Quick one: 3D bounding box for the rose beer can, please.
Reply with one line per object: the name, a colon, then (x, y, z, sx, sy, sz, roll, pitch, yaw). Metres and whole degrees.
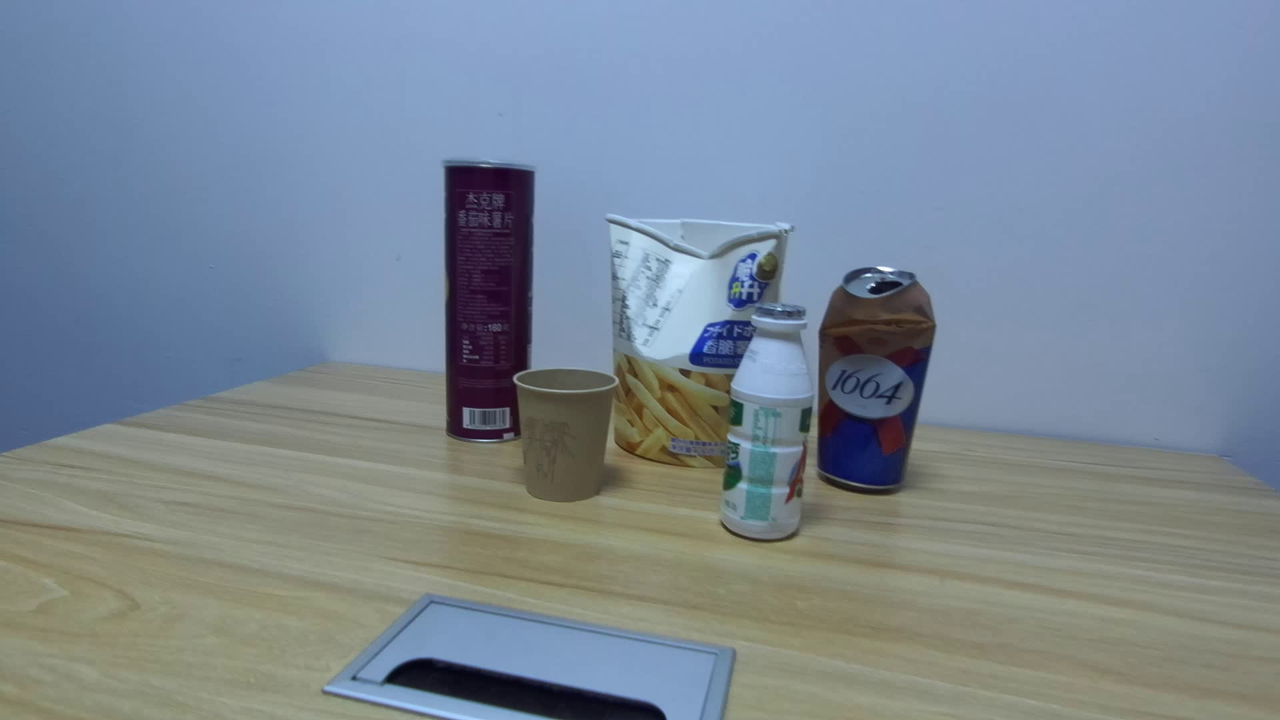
rose beer can: (0.176, 0.016, 0.536, 0.069, 0.168, 0.070, 2, 15, -1)

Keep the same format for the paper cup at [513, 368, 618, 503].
paper cup: (-0.054, 0.053, 0.505, 0.075, 0.082, 0.075, 3, 12, 0)

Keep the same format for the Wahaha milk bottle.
Wahaha milk bottle: (0.082, 0.038, 0.446, 0.053, 0.147, 0.053, 3, 12, 0)

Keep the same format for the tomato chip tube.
tomato chip tube: (-0.132, -0.049, 0.617, 0.078, 0.233, 0.078, 2, 10, 0)

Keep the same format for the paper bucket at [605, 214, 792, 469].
paper bucket: (0.046, -0.023, 0.616, 0.162, 0.202, 0.169, 4, 9, 14)
